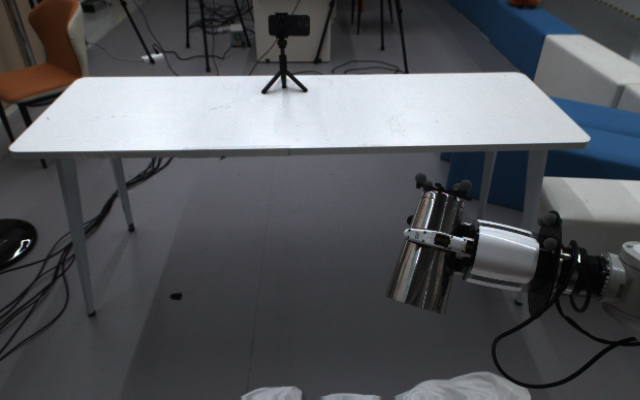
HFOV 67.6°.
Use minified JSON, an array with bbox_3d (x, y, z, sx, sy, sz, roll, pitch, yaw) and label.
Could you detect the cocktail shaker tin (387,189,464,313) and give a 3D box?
[{"bbox_3d":[0.165,0.075,0.734,0.093,0.170,0.093,16,-6,2],"label":"cocktail shaker tin"}]
